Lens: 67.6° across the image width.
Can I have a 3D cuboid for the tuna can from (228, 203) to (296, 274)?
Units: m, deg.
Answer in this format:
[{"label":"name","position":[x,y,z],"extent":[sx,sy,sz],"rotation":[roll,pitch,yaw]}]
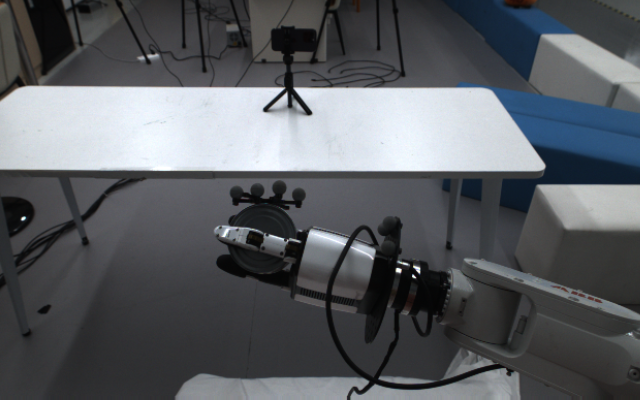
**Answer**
[{"label":"tuna can","position":[-0.069,0.049,0.600],"extent":[0.085,0.034,0.085],"rotation":[-1,76,4]}]
